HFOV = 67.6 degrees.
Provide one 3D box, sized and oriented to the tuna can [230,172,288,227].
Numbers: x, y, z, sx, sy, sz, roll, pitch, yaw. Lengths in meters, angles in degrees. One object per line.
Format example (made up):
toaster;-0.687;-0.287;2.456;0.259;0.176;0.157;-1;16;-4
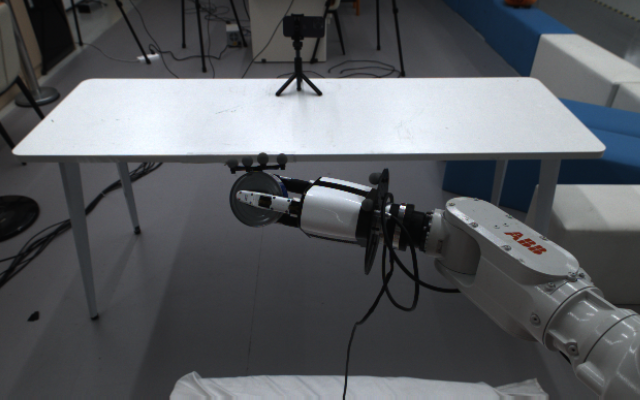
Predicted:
tuna can;-0.089;-0.001;0.747;0.085;0.085;0.034;10;2;11
